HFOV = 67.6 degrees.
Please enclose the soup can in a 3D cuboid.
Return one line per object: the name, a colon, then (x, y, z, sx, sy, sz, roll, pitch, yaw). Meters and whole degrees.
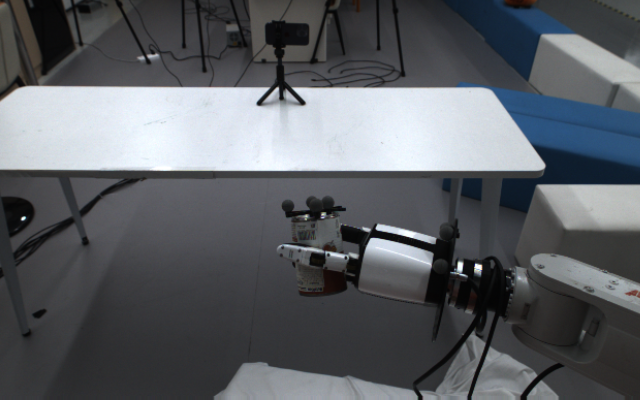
soup can: (0.001, 0.071, 0.644, 0.067, 0.101, 0.067, -7, 3, 0)
